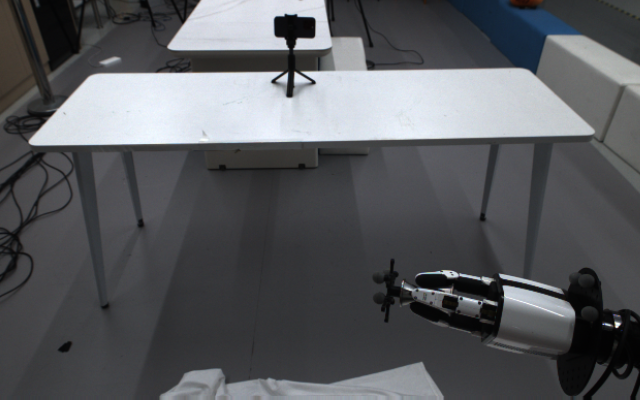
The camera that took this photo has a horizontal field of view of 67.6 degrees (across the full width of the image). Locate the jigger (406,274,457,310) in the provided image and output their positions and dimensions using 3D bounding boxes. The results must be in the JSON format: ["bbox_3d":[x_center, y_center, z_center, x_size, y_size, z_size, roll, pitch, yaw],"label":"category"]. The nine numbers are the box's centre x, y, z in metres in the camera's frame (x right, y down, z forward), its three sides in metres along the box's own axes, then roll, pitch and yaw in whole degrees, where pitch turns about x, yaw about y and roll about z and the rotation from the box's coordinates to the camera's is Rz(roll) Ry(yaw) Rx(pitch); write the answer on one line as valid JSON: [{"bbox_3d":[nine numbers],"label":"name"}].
[{"bbox_3d":[0.153,0.126,0.662,0.071,0.043,0.043,4,34,18],"label":"jigger"}]
